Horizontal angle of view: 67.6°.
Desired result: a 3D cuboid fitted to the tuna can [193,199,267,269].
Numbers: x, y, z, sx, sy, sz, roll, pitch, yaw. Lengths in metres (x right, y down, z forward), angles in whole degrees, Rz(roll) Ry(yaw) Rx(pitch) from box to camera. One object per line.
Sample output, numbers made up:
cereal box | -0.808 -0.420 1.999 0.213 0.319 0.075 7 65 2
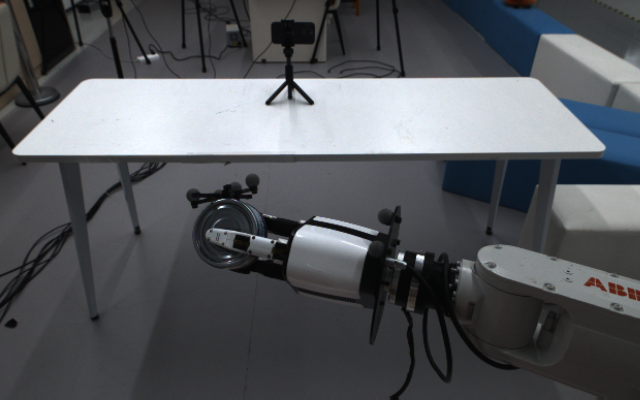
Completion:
tuna can | -0.106 0.047 0.584 0.085 0.085 0.034 12 -6 14
